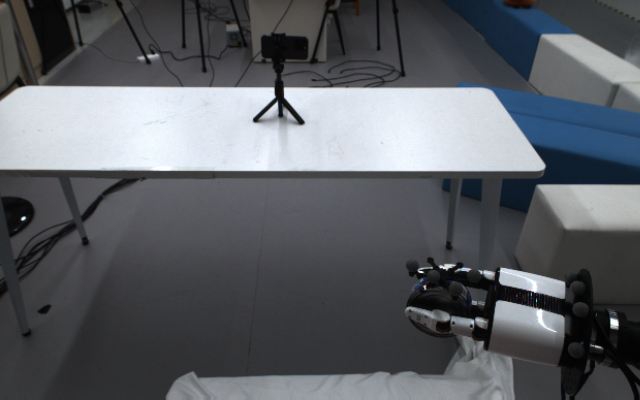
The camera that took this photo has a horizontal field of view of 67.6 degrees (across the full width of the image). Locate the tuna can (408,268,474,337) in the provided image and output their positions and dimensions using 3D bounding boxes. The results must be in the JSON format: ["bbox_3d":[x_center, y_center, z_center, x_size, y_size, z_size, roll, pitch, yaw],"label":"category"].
[{"bbox_3d":[0.167,0.142,0.665,0.085,0.085,0.034,13,29,16],"label":"tuna can"}]
